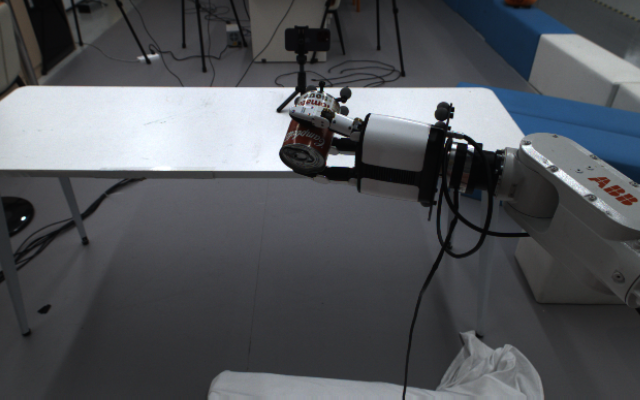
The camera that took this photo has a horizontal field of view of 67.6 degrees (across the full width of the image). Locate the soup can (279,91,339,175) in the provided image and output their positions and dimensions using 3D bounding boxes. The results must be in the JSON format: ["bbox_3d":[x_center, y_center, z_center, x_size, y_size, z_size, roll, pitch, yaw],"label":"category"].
[{"bbox_3d":[-0.013,-0.099,0.697,0.067,0.067,0.101,9,60,10],"label":"soup can"}]
